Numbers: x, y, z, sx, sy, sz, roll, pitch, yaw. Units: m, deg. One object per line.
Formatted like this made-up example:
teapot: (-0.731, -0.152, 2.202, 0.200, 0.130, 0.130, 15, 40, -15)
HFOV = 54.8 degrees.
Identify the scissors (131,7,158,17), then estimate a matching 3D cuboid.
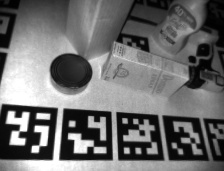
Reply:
scissors: (0.035, -0.214, 0.599, 0.204, 0.016, 0.087, 10, 60, -13)

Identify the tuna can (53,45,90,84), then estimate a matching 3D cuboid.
tuna can: (-0.085, -0.046, 0.473, 0.086, 0.033, 0.085, 7, 66, -15)

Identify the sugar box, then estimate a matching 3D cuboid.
sugar box: (0.081, -0.042, 0.495, 0.177, 0.092, 0.045, 19, 59, -10)

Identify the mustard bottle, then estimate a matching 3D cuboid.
mustard bottle: (0.187, -0.172, 0.539, 0.059, 0.191, 0.096, -34, 80, -25)

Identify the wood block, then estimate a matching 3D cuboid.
wood block: (-0.024, -0.168, 0.464, 0.092, 0.205, 0.089, -21, 74, -23)

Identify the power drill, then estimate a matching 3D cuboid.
power drill: (0.218, -0.096, 0.580, 0.185, 0.057, 0.187, 20, 69, -8)
